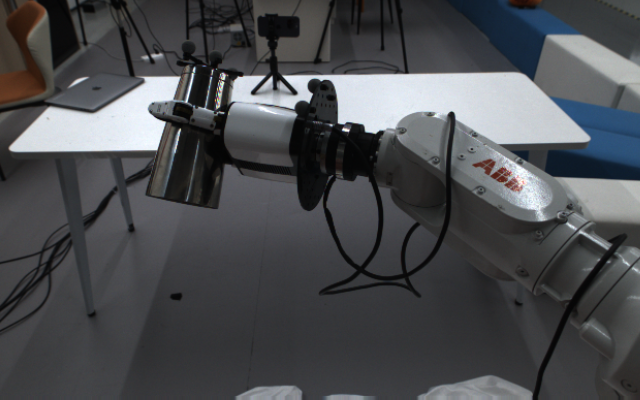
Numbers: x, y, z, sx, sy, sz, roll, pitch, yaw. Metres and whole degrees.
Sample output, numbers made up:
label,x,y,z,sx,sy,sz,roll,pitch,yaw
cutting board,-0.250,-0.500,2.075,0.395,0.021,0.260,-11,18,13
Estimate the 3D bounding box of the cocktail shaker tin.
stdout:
label,x,y,z,sx,sy,sz,roll,pitch,yaw
cocktail shaker tin,-0.159,-0.079,0.621,0.093,0.170,0.093,10,-5,1
